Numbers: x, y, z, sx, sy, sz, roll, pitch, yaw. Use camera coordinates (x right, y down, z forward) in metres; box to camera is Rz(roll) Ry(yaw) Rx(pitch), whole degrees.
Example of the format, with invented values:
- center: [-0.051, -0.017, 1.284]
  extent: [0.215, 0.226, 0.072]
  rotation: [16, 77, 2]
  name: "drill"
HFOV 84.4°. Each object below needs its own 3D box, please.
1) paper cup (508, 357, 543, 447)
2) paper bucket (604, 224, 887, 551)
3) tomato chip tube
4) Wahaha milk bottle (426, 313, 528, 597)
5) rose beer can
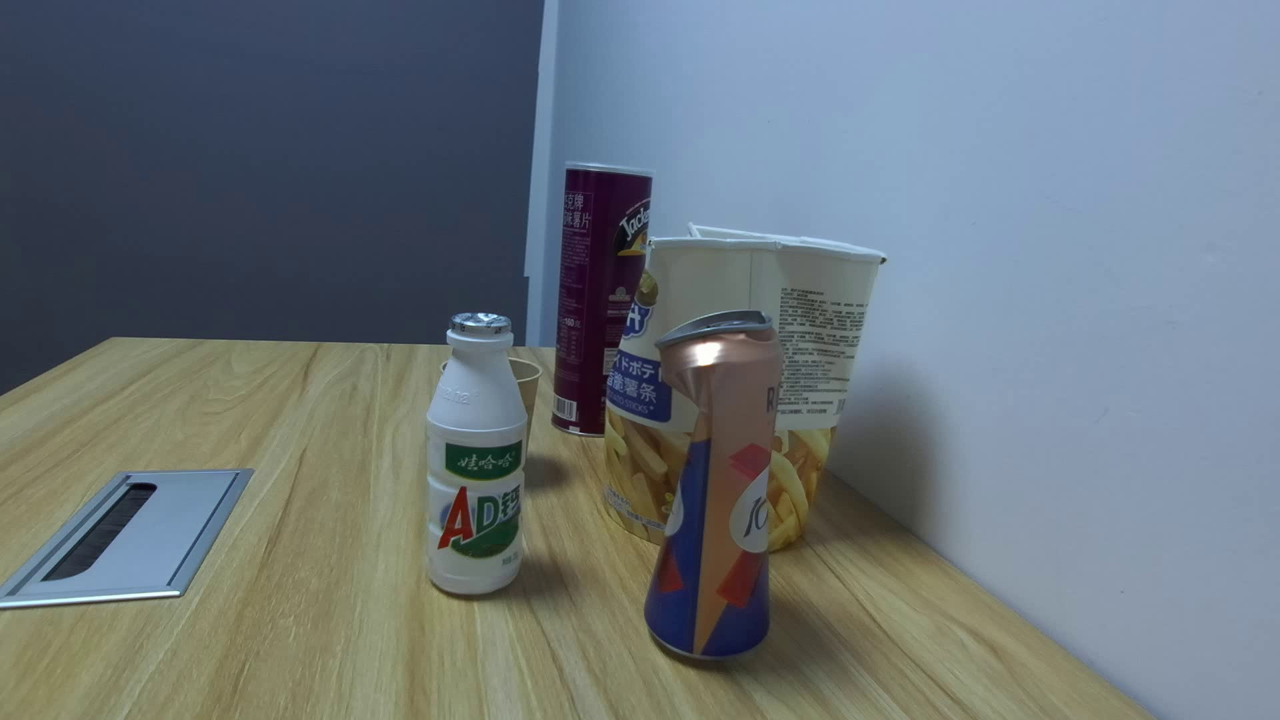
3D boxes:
- center: [-0.113, 0.040, 0.546]
  extent: [0.075, 0.082, 0.075]
  rotation: [7, 18, -2]
  name: "paper cup"
- center: [0.056, 0.007, 0.496]
  extent: [0.169, 0.202, 0.162]
  rotation: [3, 13, -17]
  name: "paper bucket"
- center: [-0.035, -0.051, 0.636]
  extent: [0.078, 0.233, 0.078]
  rotation: [4, 9, 0]
  name: "tomato chip tube"
- center: [-0.088, 0.051, 0.380]
  extent: [0.053, 0.147, 0.053]
  rotation: [5, 12, -1]
  name: "Wahaha milk bottle"
- center: [0.038, 0.062, 0.347]
  extent: [0.070, 0.168, 0.069]
  rotation: [-7, 14, -32]
  name: "rose beer can"
